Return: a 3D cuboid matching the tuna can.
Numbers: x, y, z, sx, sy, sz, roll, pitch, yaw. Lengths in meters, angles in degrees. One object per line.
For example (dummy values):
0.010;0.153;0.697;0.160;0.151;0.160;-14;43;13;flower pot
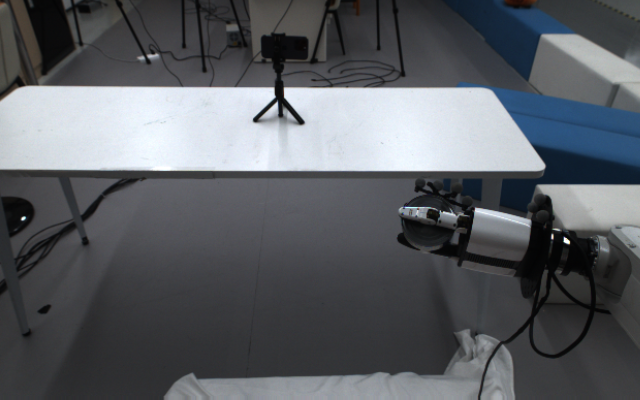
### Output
0.173;0.033;0.766;0.085;0.034;0.085;-4;66;10;tuna can
